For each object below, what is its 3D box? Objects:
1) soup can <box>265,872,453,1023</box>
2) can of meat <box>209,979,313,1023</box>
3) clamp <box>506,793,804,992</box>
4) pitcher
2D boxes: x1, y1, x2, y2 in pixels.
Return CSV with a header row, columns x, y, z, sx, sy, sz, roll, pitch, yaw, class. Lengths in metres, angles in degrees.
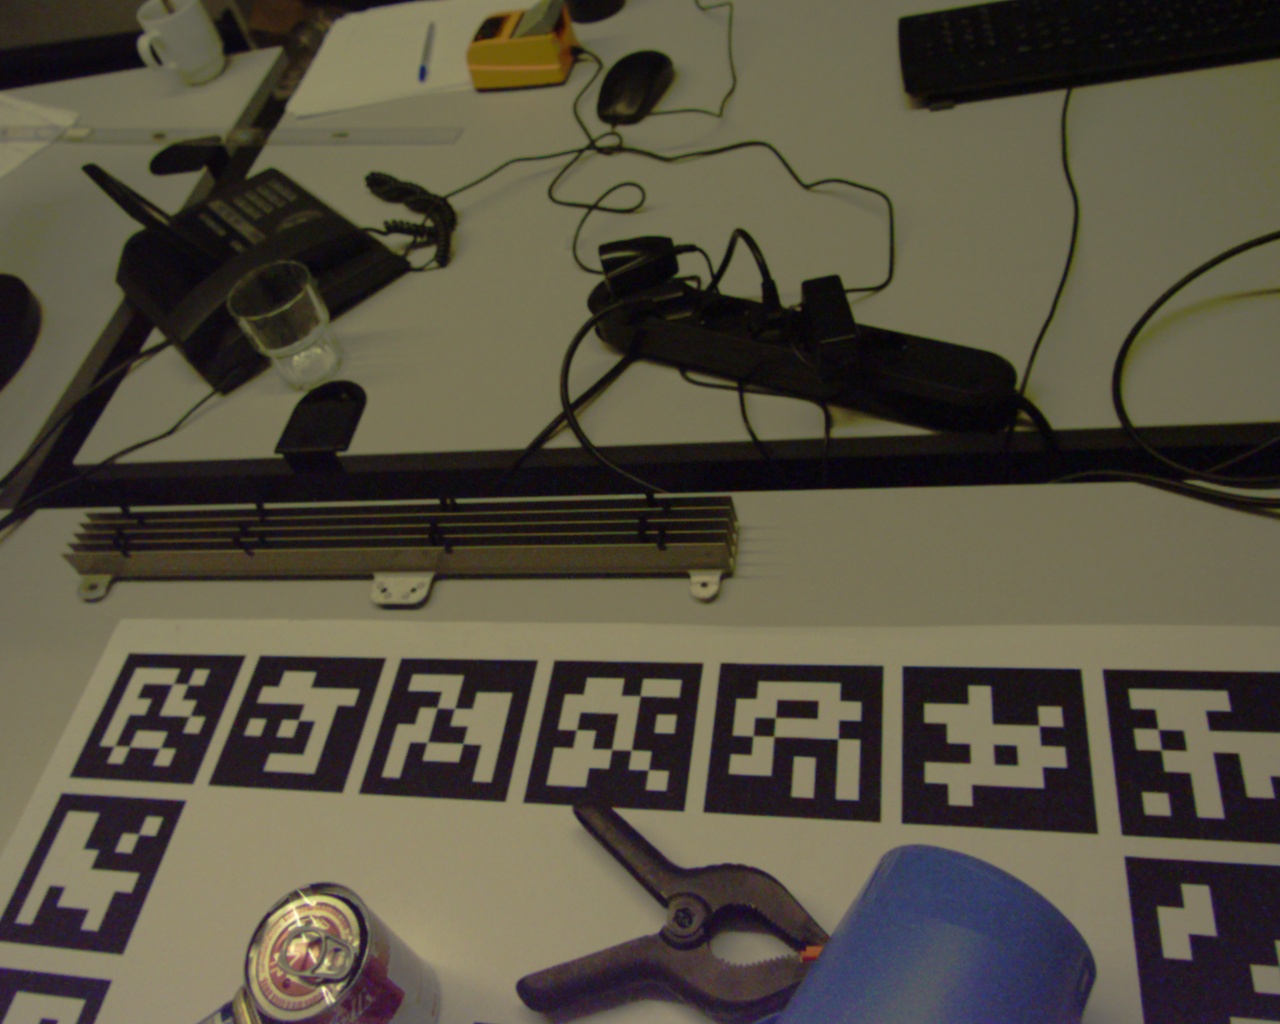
x,y,z,sx,sy,sz,roll,pitch,yaw,class
-0.155,0.254,0.643,0.068,0.101,0.068,-10,51,12,soup can
-0.210,0.308,0.610,0.083,0.101,0.058,-33,51,-6,can of meat
0.012,0.226,0.667,0.166,0.036,0.122,1,48,14,clamp
0.096,0.270,0.524,0.191,0.132,0.241,-1,40,45,pitcher
